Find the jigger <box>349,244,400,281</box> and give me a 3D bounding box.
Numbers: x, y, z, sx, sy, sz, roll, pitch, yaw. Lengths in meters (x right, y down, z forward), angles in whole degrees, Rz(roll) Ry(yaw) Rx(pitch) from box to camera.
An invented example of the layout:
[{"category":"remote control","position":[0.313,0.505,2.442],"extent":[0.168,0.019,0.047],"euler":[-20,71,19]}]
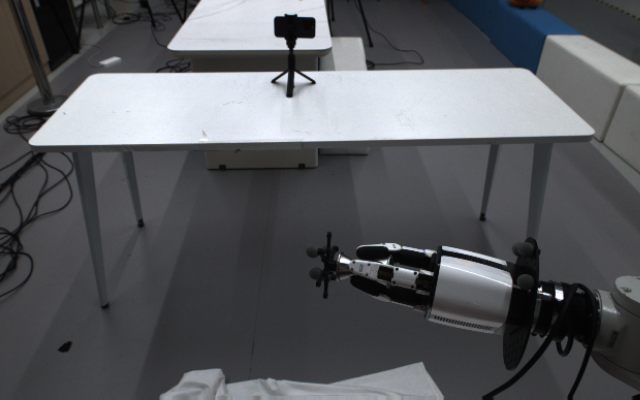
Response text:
[{"category":"jigger","position":[0.067,0.085,0.635],"extent":[0.071,0.043,0.043],"euler":[2,33,17]}]
